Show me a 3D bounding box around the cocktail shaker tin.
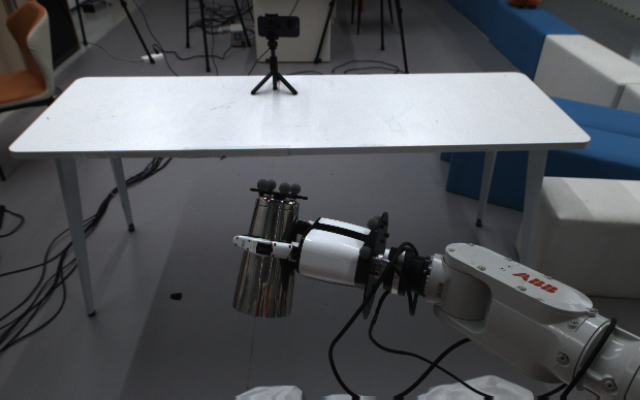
[{"bbox_3d":[-0.076,0.083,0.740,0.093,0.170,0.093,9,3,0],"label":"cocktail shaker tin"}]
